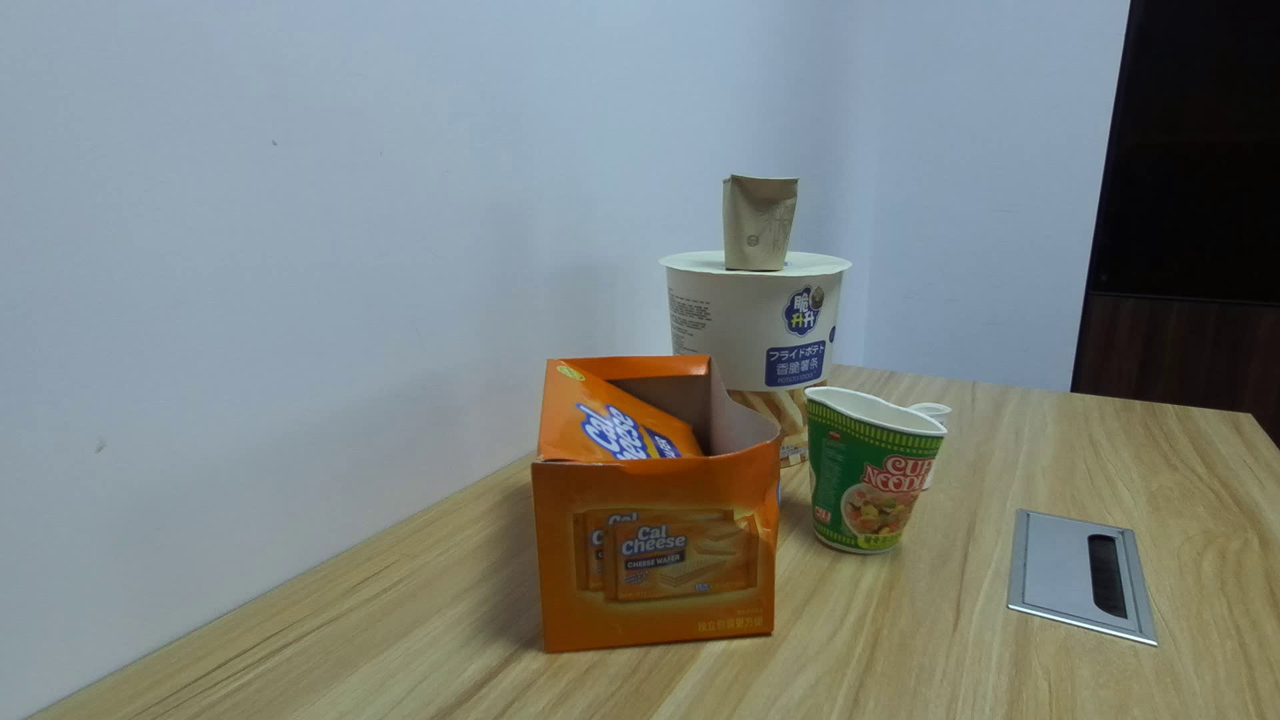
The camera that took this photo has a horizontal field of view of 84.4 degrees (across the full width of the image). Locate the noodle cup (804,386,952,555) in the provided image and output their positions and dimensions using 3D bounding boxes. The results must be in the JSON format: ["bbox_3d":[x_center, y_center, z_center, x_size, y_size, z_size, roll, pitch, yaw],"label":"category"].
[{"bbox_3d":[0.170,0.082,0.543,0.070,0.111,0.115,-5,18,-8],"label":"noodle cup"}]

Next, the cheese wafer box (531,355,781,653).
[{"bbox_3d":[0.004,0.088,0.513,0.152,0.132,0.230,0,14,-6],"label":"cheese wafer box"}]

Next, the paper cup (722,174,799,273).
[{"bbox_3d":[0.108,-0.125,0.645,0.066,0.084,0.071,0,11,-1],"label":"paper cup"}]

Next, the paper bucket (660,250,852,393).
[{"bbox_3d":[0.111,-0.005,0.719,0.198,0.194,0.198,0,16,0],"label":"paper bucket"}]
